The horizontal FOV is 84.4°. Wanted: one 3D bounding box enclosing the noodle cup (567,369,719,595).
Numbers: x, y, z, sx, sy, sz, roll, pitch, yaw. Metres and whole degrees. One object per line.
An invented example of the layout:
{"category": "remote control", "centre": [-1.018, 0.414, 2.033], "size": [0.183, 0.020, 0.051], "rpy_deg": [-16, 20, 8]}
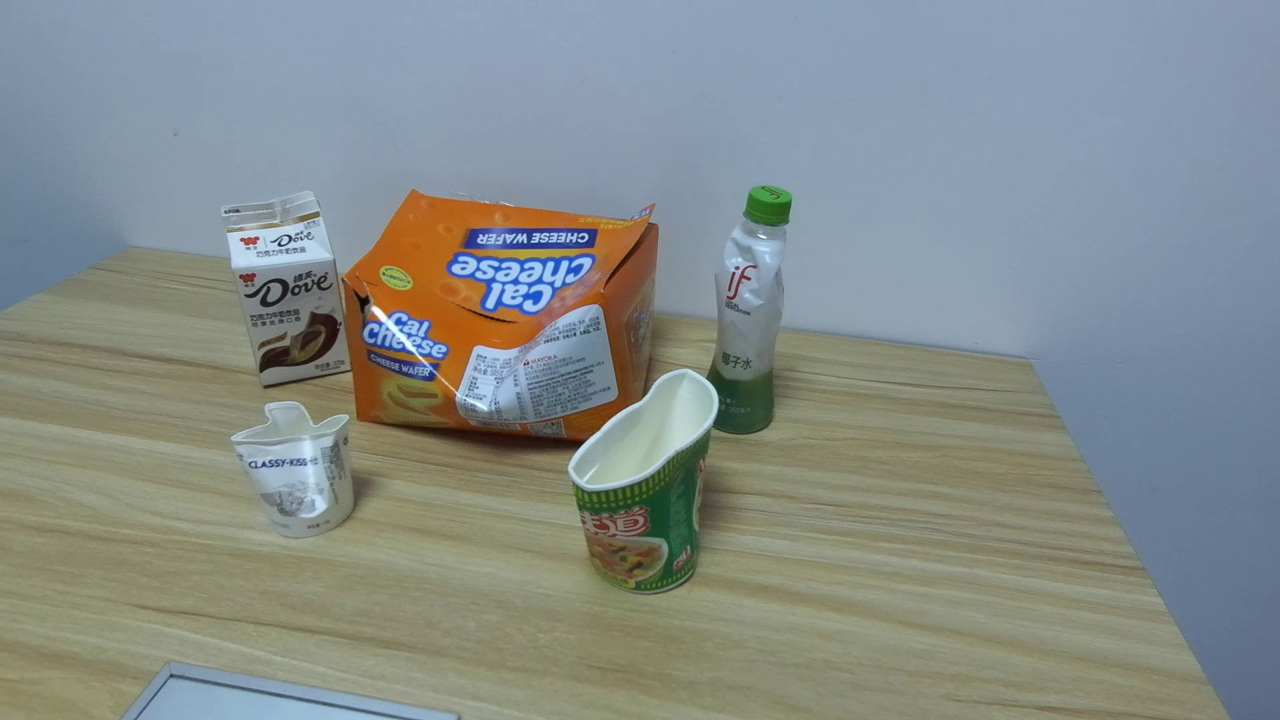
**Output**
{"category": "noodle cup", "centre": [0.003, 0.078, 0.422], "size": [0.115, 0.111, 0.070], "rpy_deg": [-19, 38, -32]}

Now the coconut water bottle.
{"category": "coconut water bottle", "centre": [0.084, -0.035, 0.533], "size": [0.067, 0.187, 0.067], "rpy_deg": [3, 31, -2]}

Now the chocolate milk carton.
{"category": "chocolate milk carton", "centre": [-0.289, -0.063, 0.578], "size": [0.076, 0.148, 0.073], "rpy_deg": [-13, 37, -28]}

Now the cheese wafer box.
{"category": "cheese wafer box", "centre": [-0.103, -0.034, 0.558], "size": [0.219, 0.145, 0.191], "rpy_deg": [6, 33, 4]}

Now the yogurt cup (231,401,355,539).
{"category": "yogurt cup", "centre": [-0.215, 0.069, 0.453], "size": [0.055, 0.072, 0.055], "rpy_deg": [9, 30, 11]}
